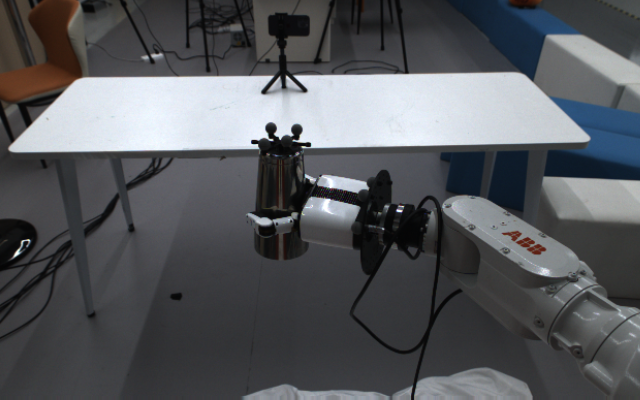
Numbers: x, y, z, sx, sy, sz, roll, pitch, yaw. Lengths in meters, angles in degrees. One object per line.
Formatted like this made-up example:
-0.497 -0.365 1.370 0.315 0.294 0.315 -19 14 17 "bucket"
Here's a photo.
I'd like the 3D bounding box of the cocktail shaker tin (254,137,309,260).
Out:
-0.060 -0.002 0.761 0.093 0.170 0.093 2 28 -1 "cocktail shaker tin"
